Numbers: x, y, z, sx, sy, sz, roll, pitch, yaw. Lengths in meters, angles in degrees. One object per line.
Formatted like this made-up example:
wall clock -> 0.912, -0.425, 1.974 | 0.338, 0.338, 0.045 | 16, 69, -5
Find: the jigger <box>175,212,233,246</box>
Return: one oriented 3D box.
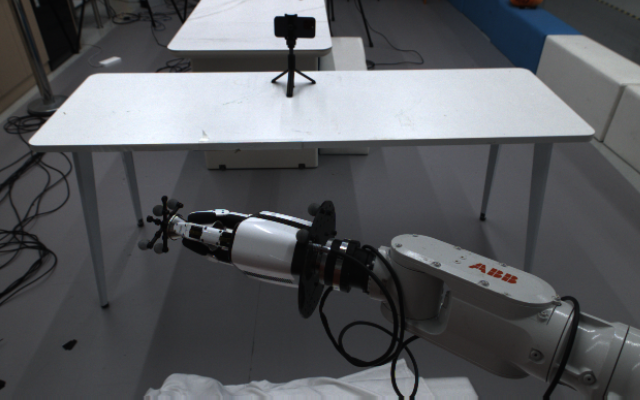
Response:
jigger -> -0.173, 0.042, 0.693 | 0.071, 0.043, 0.043 | 10, 35, 16
